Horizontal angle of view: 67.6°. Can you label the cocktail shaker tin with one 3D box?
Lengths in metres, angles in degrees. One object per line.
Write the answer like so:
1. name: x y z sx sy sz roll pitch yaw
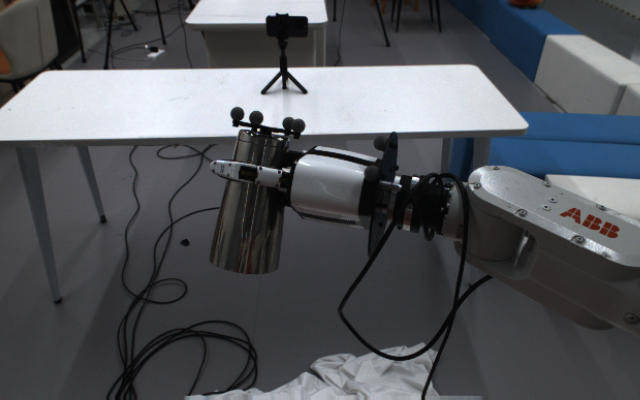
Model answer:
1. cocktail shaker tin: -0.082 -0.003 0.626 0.093 0.170 0.093 10 9 -2
